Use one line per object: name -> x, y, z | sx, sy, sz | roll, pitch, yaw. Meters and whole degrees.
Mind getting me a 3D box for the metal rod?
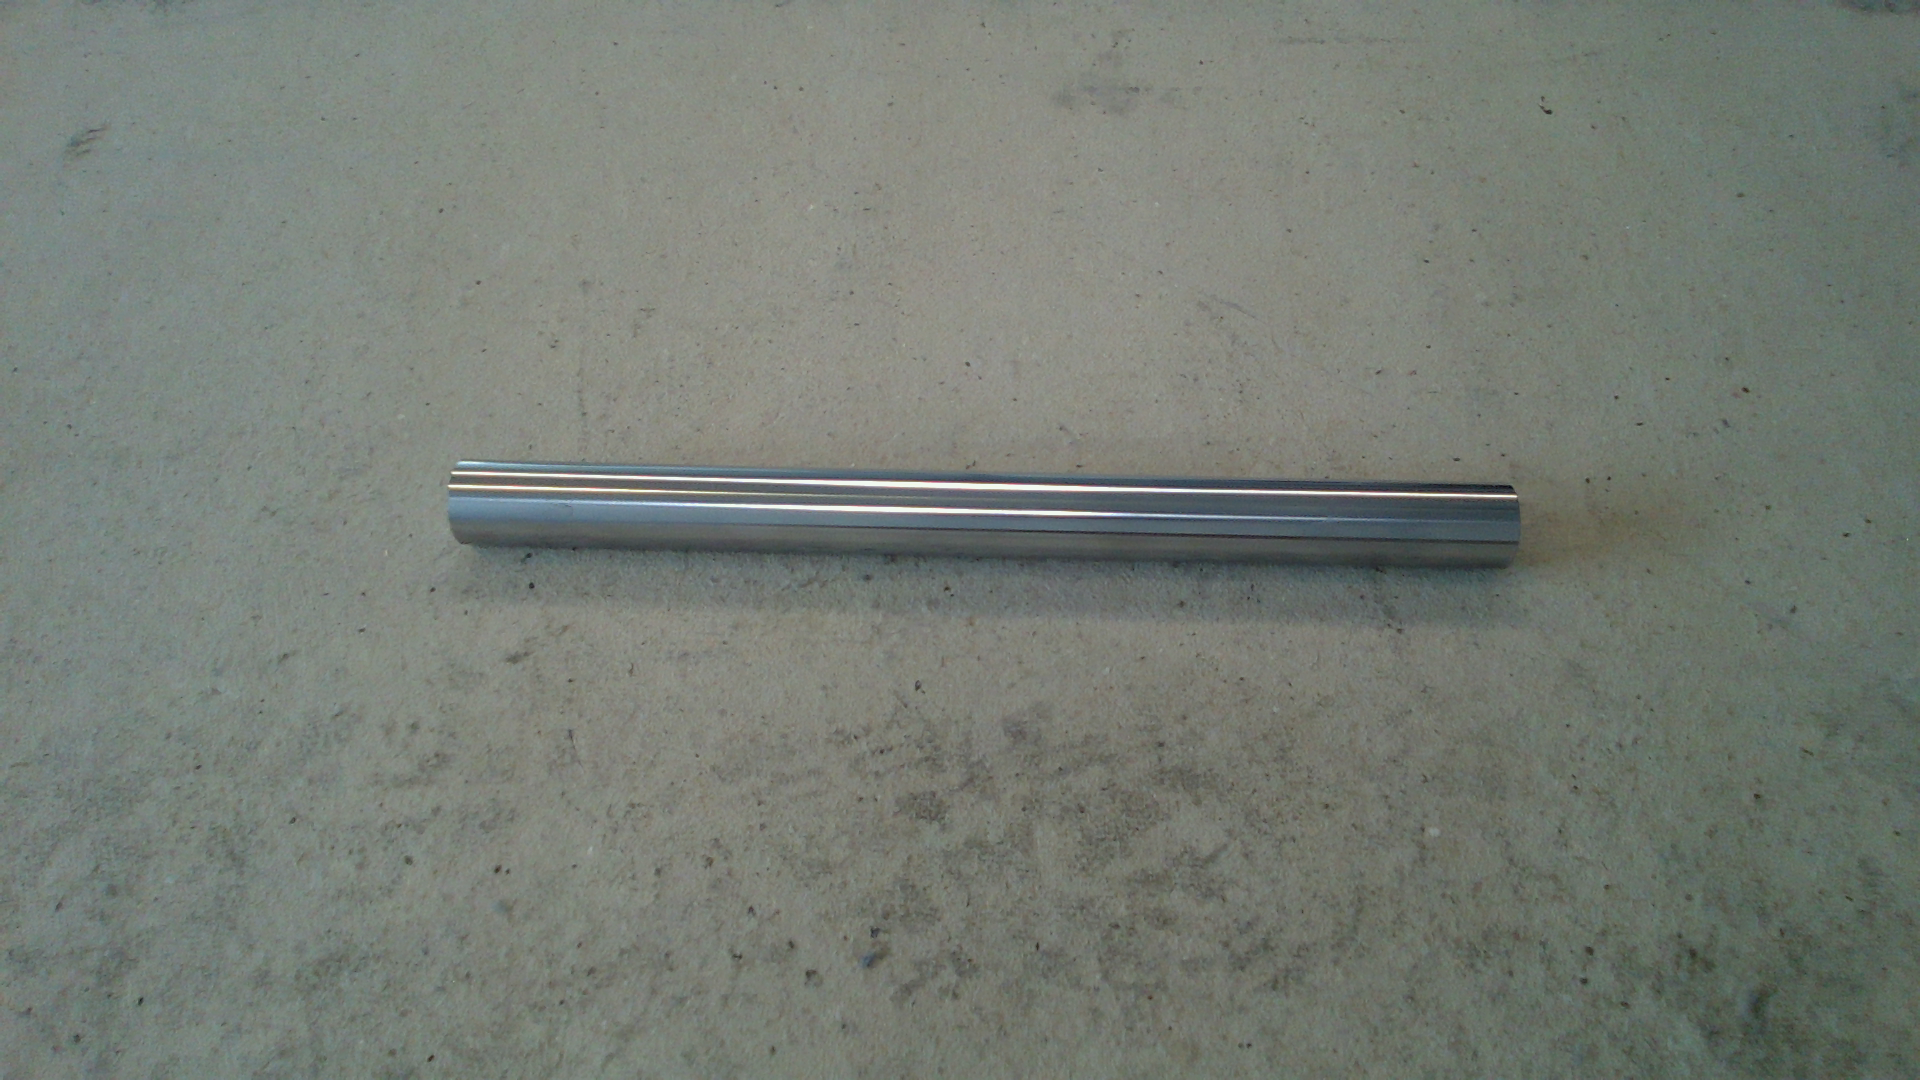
metal rod -> 0.005, -0.008, 0.398 | 0.300, 0.025, 0.025 | 1, 50, 1
